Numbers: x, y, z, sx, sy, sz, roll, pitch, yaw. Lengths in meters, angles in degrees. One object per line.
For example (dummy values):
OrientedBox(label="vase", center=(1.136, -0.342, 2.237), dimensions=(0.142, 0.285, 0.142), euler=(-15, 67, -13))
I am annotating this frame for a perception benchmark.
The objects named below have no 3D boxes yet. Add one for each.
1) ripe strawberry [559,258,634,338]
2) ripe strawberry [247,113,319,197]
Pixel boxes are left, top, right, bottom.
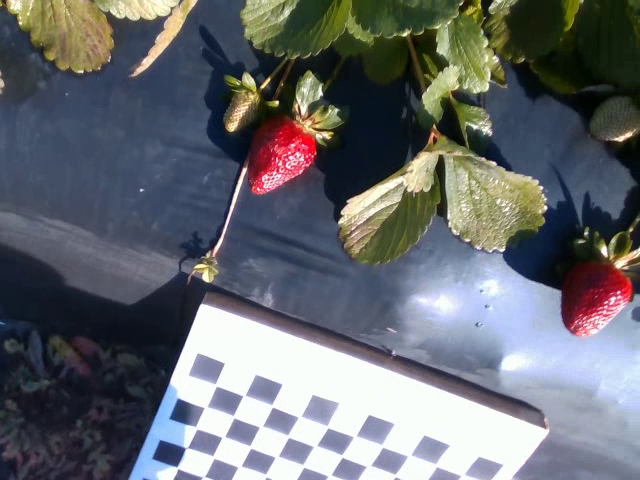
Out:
OrientedBox(label="ripe strawberry", center=(0.163, 0.037, 0.399), dimensions=(0.050, 0.043, 0.043), euler=(-50, 25, -24))
OrientedBox(label="ripe strawberry", center=(-0.025, -0.047, 0.383), dimensions=(0.041, 0.053, 0.043), euler=(28, -16, -13))
